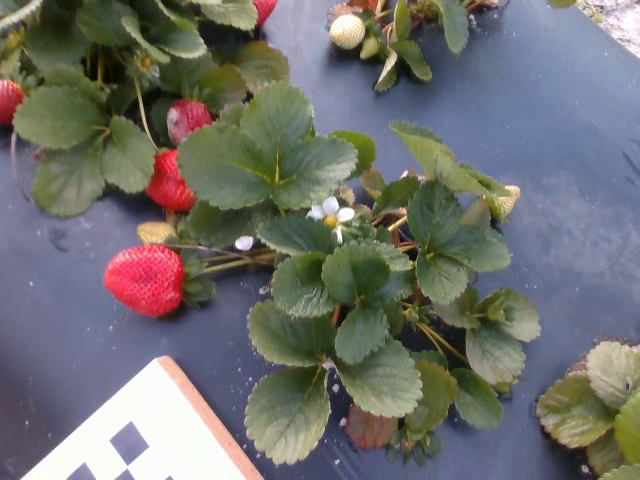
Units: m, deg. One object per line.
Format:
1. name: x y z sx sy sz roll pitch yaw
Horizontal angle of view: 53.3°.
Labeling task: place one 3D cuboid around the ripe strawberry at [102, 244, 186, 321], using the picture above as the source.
1. ripe strawberry: -0.056 0.013 0.198 0.030 0.025 0.022 15 15 -48
